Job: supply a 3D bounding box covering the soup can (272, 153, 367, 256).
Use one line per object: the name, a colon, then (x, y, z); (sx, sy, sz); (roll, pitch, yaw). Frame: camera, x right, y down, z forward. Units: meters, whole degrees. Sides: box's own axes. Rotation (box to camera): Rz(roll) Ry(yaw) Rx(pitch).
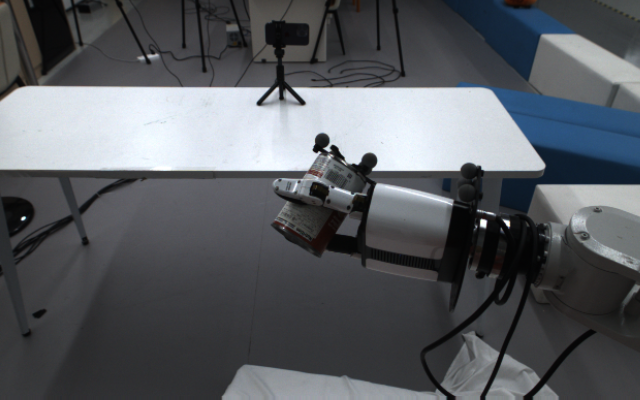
soup can: (0.001, 0.005, 0.557); (0.067, 0.067, 0.101); (27, 78, 31)
